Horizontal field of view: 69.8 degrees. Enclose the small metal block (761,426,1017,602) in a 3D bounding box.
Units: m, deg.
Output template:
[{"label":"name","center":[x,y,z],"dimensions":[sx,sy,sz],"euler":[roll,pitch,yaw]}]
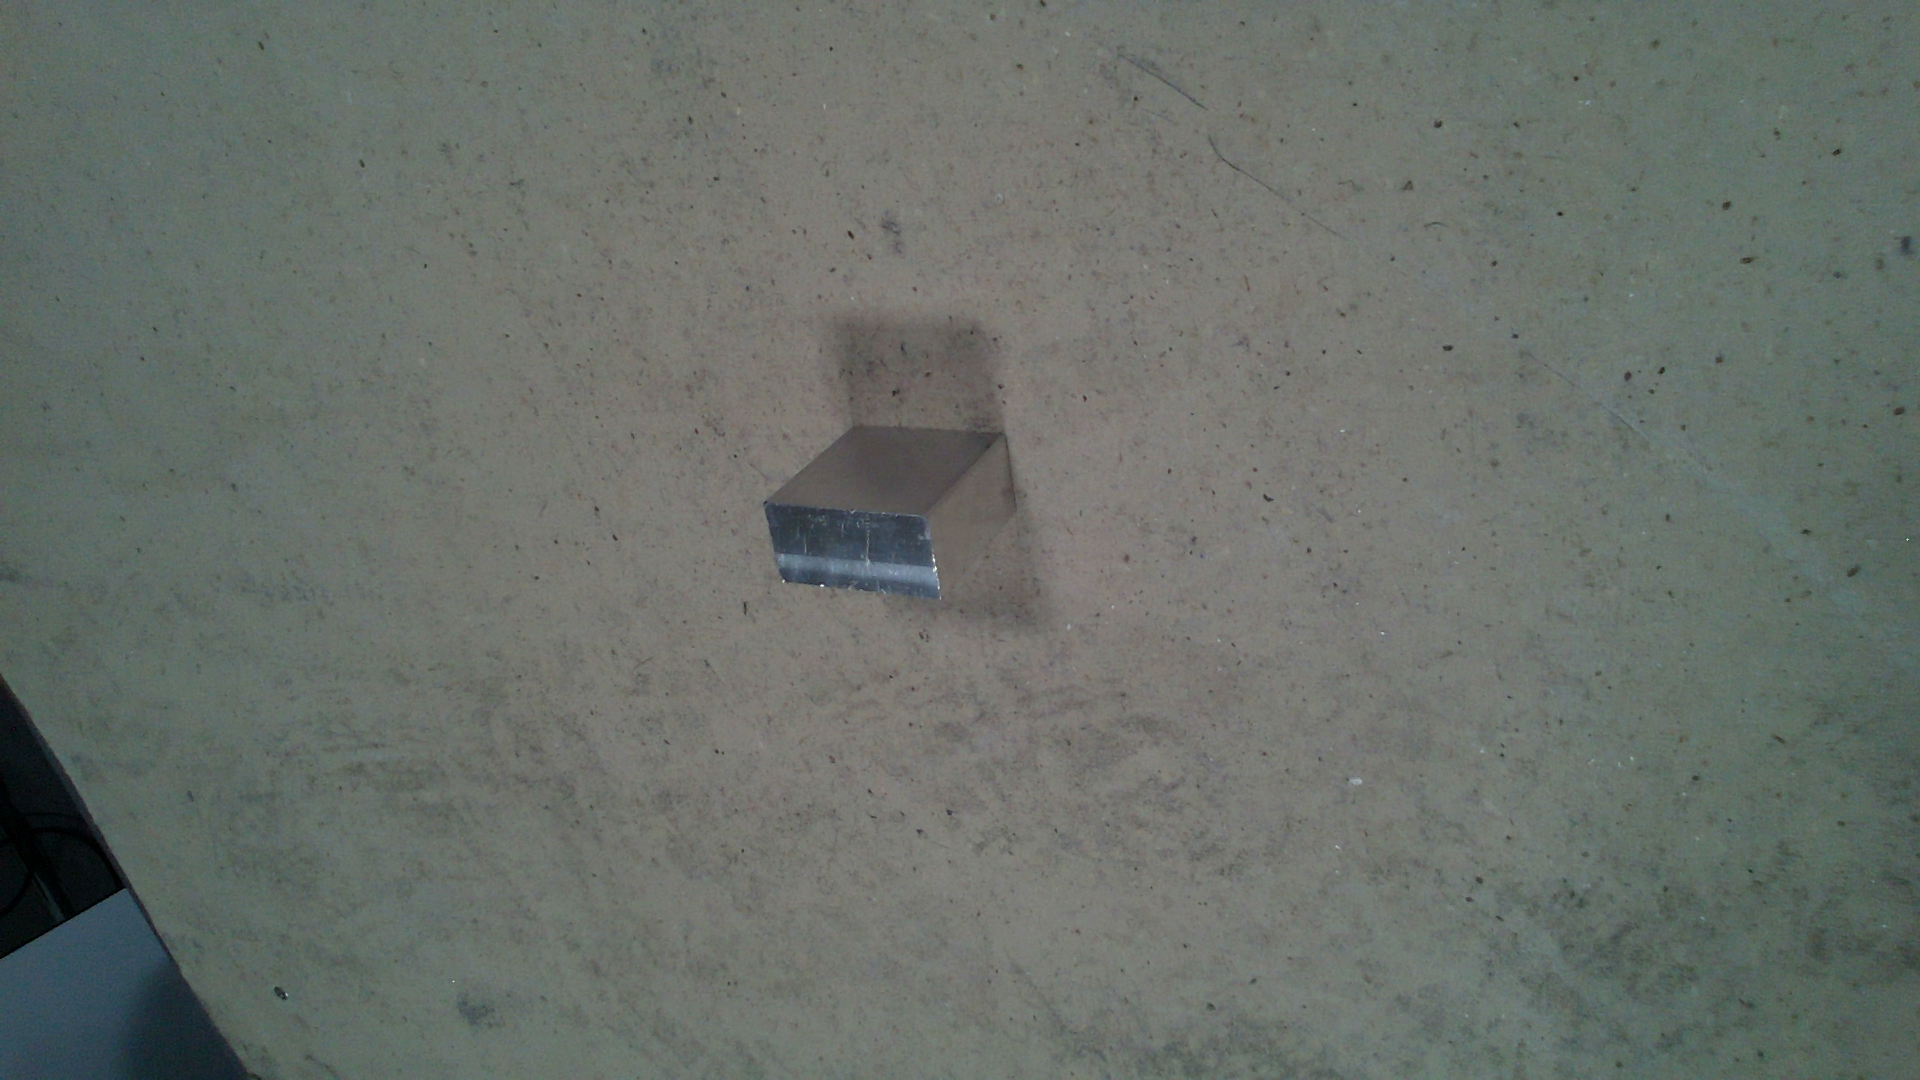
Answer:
[{"label":"small metal block","center":[-0.018,-0.009,0.381],"dimensions":[0.050,0.050,0.025],"euler":[5,121,26]}]
